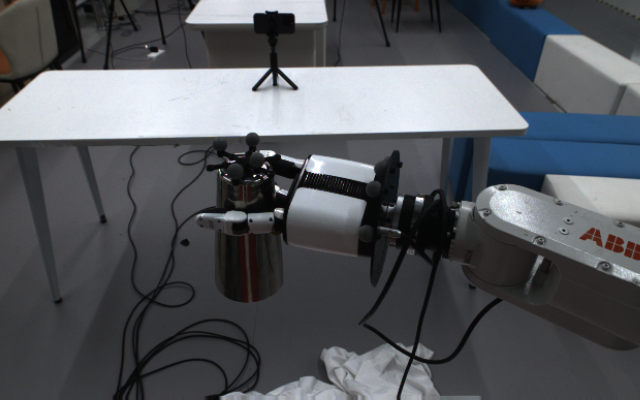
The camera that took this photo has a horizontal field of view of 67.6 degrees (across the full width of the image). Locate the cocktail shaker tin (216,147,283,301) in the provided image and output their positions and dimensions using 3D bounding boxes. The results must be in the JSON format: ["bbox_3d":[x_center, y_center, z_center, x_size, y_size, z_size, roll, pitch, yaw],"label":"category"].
[{"bbox_3d":[-0.089,0.032,0.612,0.093,0.170,0.093,3,33,-2],"label":"cocktail shaker tin"}]
